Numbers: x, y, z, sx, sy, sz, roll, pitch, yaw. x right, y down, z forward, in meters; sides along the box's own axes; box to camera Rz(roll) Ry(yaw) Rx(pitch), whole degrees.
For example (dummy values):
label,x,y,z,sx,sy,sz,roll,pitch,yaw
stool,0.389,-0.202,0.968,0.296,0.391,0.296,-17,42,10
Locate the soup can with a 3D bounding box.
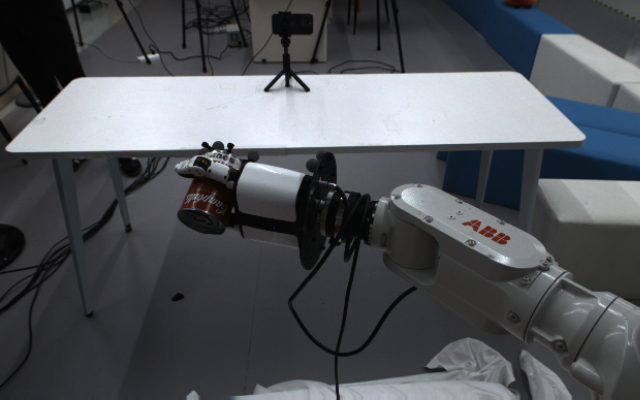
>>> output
label,x,y,z,sx,sy,sz,roll,pitch,yaw
soup can,-0.149,-0.011,0.676,0.067,0.067,0.101,9,58,10
